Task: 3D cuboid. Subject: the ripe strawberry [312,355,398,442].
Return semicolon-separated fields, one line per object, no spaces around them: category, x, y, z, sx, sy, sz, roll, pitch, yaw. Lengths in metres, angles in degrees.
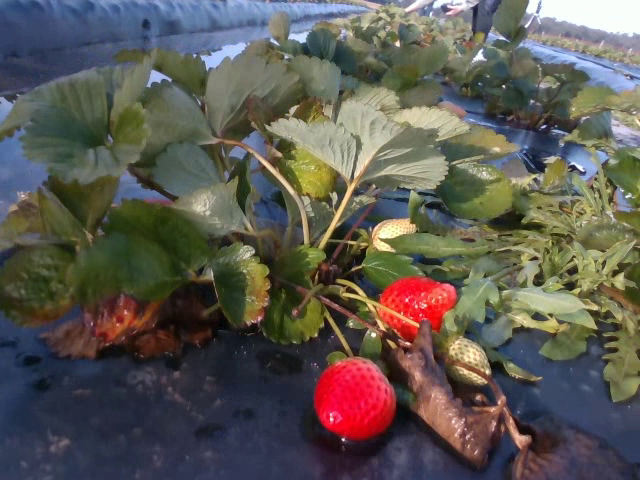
ripe strawberry;0.010;0.060;0.233;0.035;0.029;0.043;10;19;24

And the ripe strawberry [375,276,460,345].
ripe strawberry;0.052;0.028;0.307;0.039;0.032;0.049;-17;-15;-38
